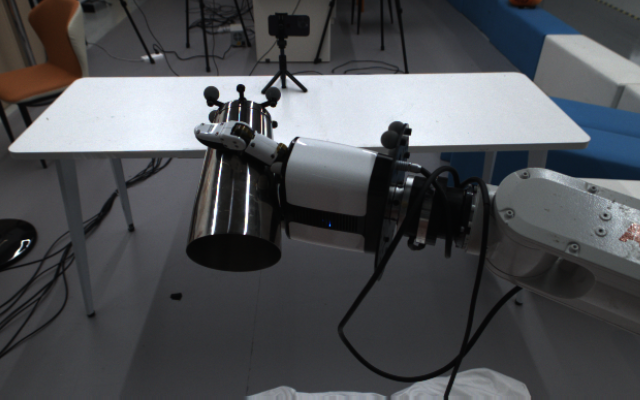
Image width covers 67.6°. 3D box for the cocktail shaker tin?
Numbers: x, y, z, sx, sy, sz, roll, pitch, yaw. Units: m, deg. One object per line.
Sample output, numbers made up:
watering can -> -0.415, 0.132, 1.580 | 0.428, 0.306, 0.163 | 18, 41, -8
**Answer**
cocktail shaker tin -> -0.085, -0.020, 0.509 | 0.093, 0.093, 0.170 | 0, 59, -3
